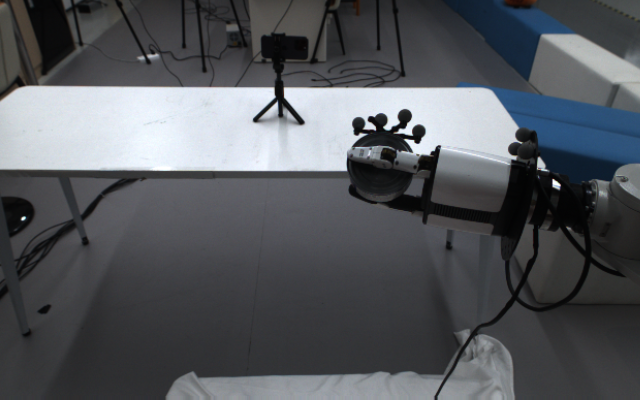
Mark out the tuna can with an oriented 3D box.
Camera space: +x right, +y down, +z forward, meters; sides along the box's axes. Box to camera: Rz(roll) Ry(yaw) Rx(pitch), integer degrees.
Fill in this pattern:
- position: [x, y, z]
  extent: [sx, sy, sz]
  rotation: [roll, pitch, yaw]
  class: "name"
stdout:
- position: [0.079, -0.045, 0.620]
  extent: [0.085, 0.034, 0.085]
  rotation: [-3, 68, 7]
  class: "tuna can"
